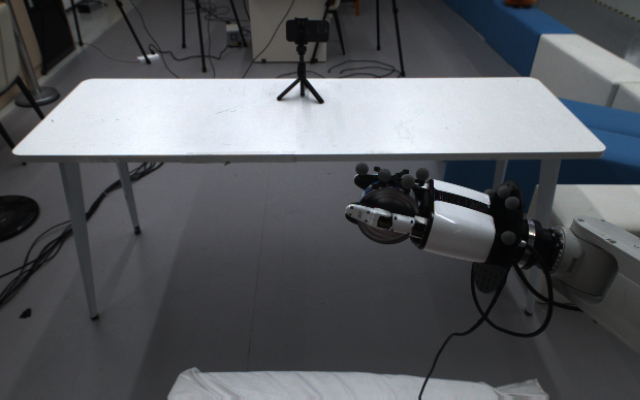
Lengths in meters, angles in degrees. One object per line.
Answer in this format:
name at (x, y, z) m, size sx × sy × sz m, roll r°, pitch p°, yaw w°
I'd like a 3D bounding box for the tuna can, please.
tuna can at (0.096, 0.021, 0.661) m, size 0.085 × 0.085 × 0.034 m, roll 7°, pitch 22°, yaw 7°
